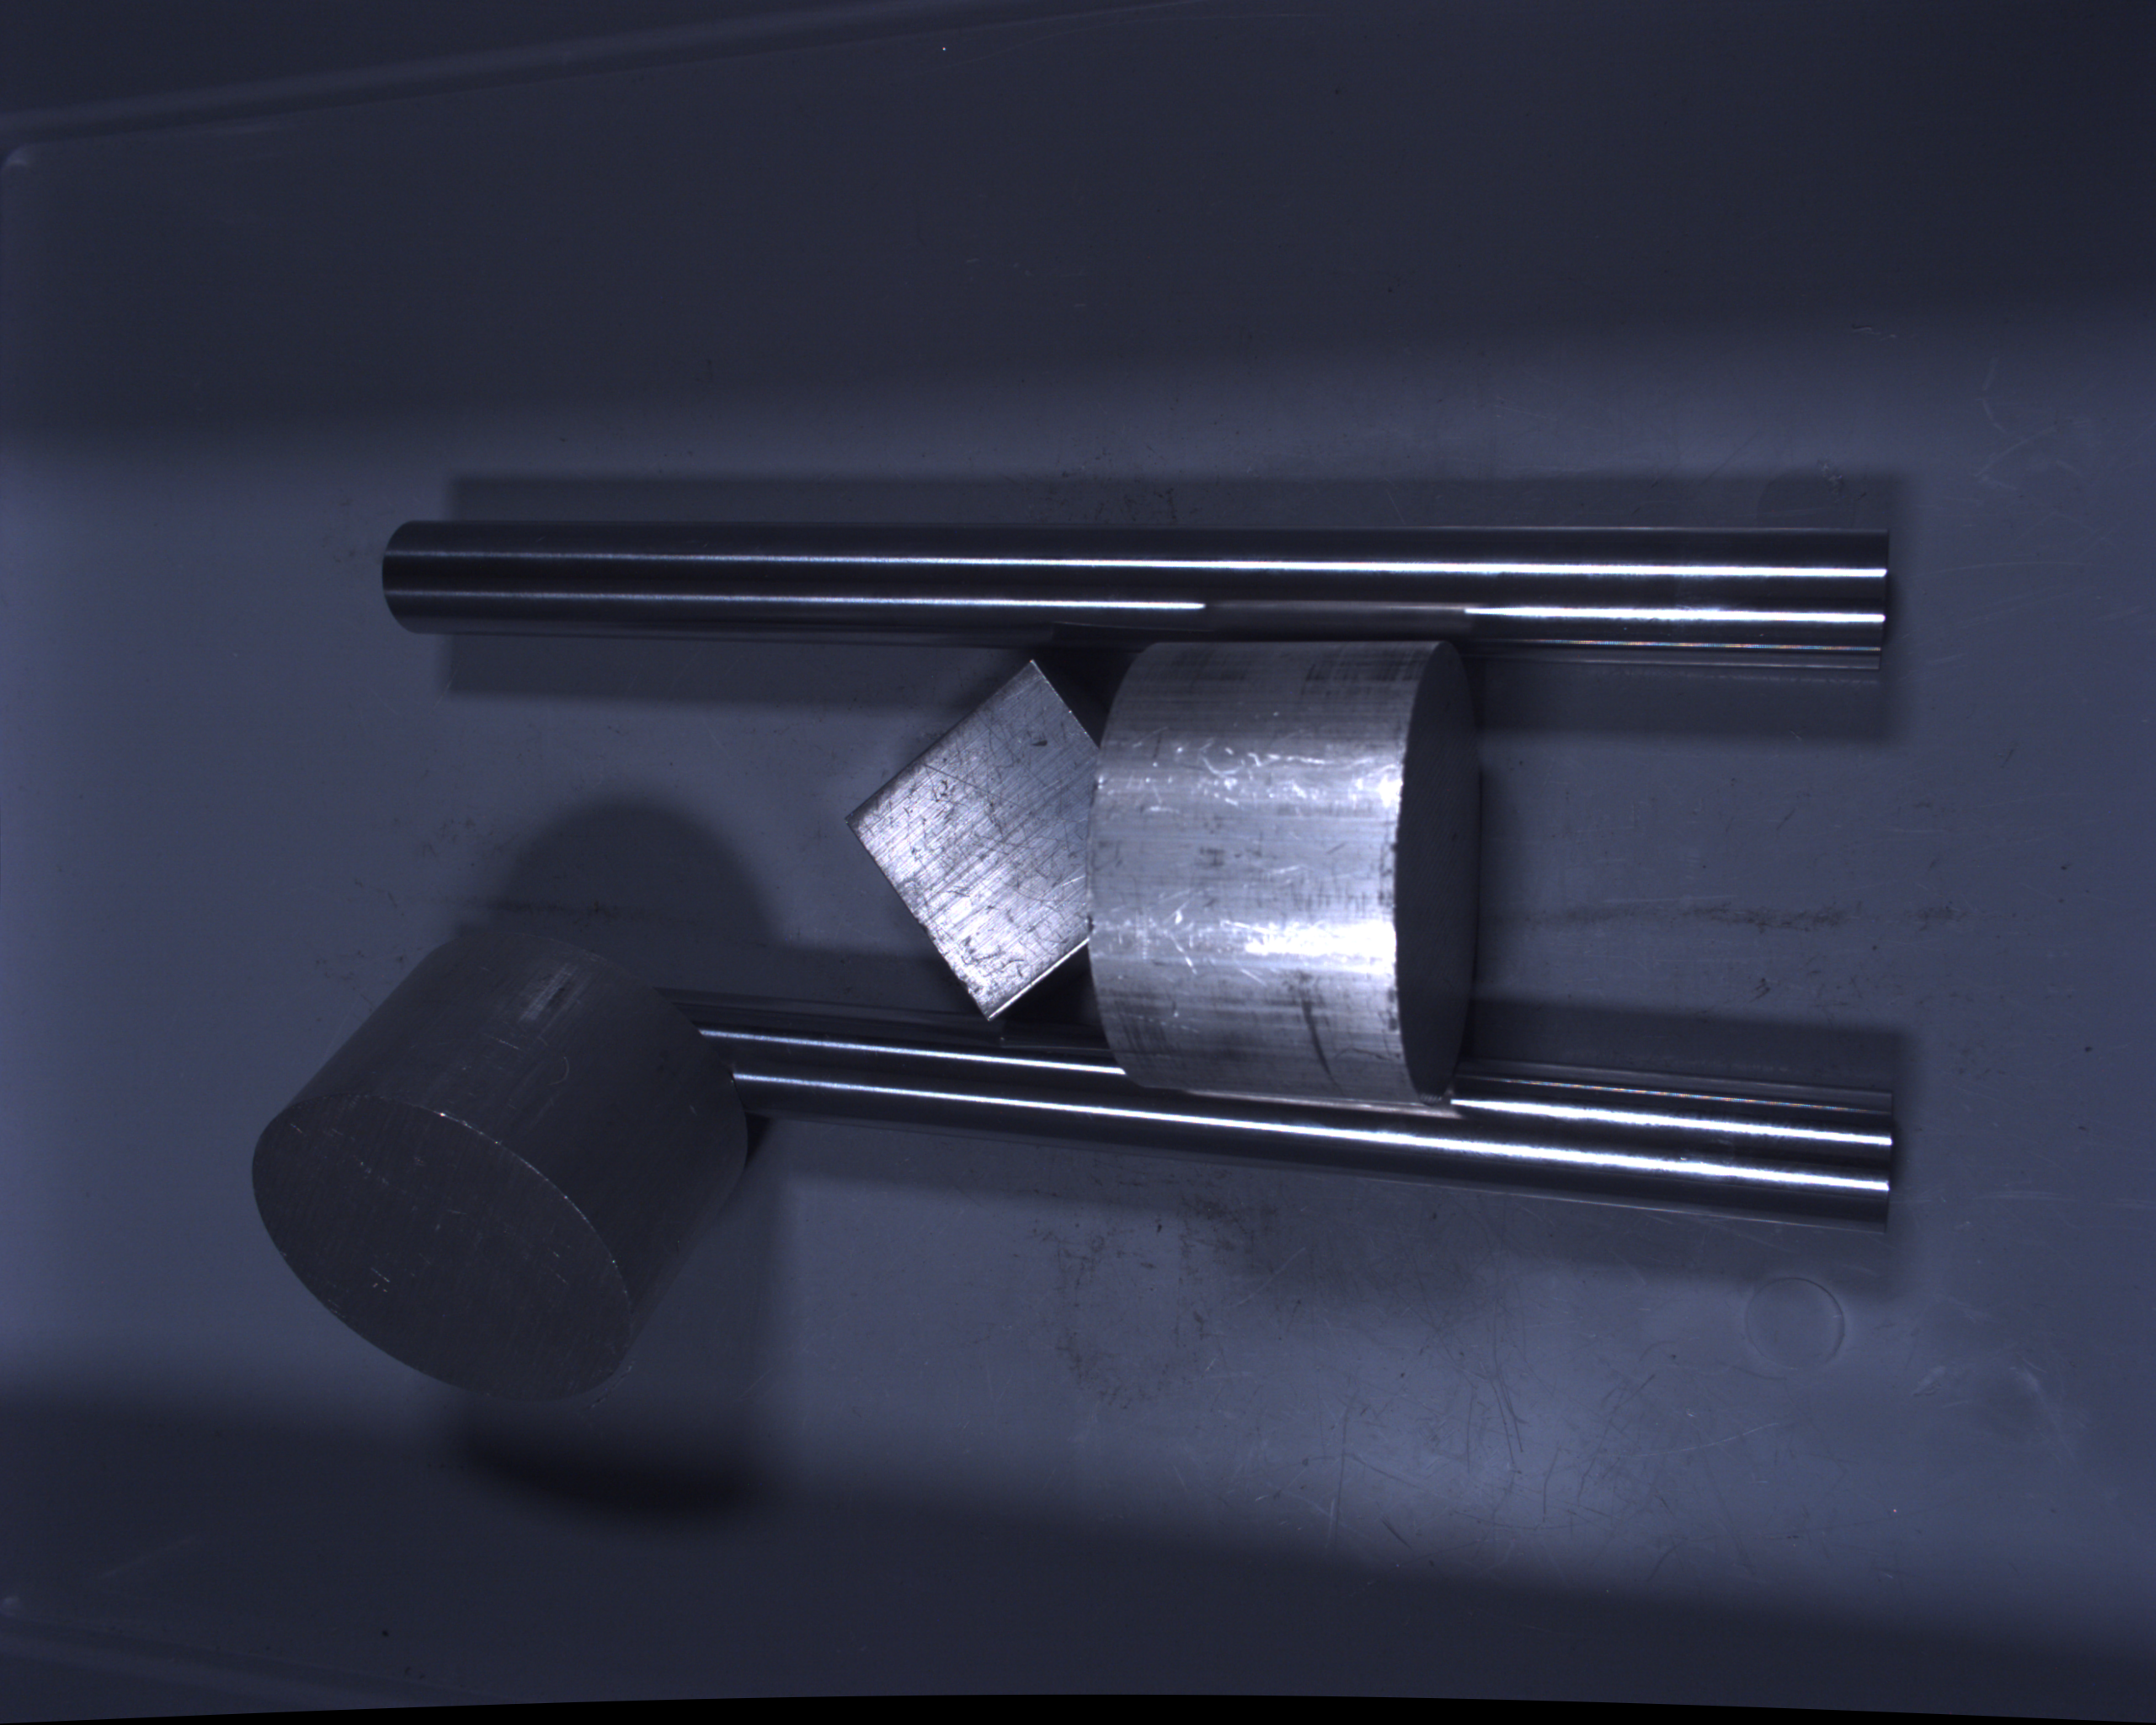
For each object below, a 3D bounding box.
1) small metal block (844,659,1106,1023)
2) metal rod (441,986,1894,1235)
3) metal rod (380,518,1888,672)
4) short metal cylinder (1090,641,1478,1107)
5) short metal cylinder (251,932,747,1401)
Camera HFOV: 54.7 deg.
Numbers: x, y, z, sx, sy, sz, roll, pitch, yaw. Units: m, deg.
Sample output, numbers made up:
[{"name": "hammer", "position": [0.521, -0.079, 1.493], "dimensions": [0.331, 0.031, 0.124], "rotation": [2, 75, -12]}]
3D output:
[{"name": "small metal block", "position": [-0.009, -0.004, 0.411], "dimensions": [0.050, 0.025, 0.050], "rotation": [-39, 78, 15]}, {"name": "metal rod", "position": [-0.002, 0.043, 0.408], "dimensions": [0.301, 0.025, 0.025], "rotation": [3, 91, 19]}, {"name": "metal rod", "position": [-0.003, -0.054, 0.409], "dimensions": [0.301, 0.025, 0.025], "rotation": [4, 91, 19]}, {"name": "short metal cylinder", "position": [0.039, 0.001, 0.365], "dimensions": [0.050, 0.080, 0.079], "rotation": [2, 91, 20]}, {"name": "short metal cylinder", "position": [-0.114, 0.061, 0.416], "dimensions": [0.080, 0.050, 0.079], "rotation": [10, 127, 14]}]
